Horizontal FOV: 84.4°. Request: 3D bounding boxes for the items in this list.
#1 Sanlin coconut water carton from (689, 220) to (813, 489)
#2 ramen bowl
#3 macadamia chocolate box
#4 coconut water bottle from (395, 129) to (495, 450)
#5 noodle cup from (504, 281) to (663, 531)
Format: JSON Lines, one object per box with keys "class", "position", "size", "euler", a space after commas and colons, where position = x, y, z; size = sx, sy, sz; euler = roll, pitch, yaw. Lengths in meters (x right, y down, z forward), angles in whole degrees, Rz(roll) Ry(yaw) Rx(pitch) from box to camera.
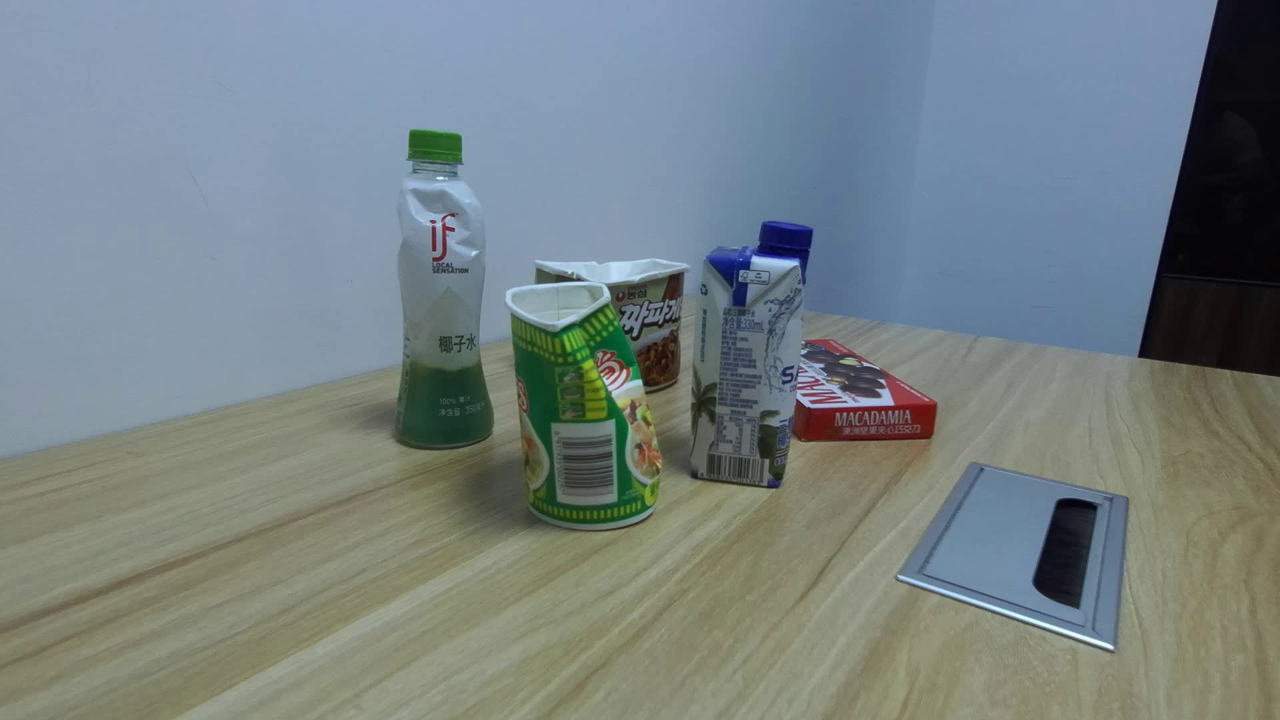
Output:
{"class": "Sanlin coconut water carton", "position": [0.062, -0.004, 0.399], "size": [0.060, 0.144, 0.060], "euler": [4, 16, 11]}
{"class": "ramen bowl", "position": [-0.013, -0.033, 0.580], "size": [0.134, 0.097, 0.113], "euler": [-11, 20, -40]}
{"class": "macadamia chocolate box", "position": [0.140, 0.019, 0.548], "size": [0.096, 0.027, 0.177], "euler": [-2, 16, -7]}
{"class": "coconut water bottle", "position": [-0.123, -0.044, 0.437], "size": [0.067, 0.187, 0.067], "euler": [2, 14, 0]}
{"class": "noodle cup", "position": [-0.025, 0.021, 0.360], "size": [0.075, 0.122, 0.083], "euler": [6, 24, 43]}
